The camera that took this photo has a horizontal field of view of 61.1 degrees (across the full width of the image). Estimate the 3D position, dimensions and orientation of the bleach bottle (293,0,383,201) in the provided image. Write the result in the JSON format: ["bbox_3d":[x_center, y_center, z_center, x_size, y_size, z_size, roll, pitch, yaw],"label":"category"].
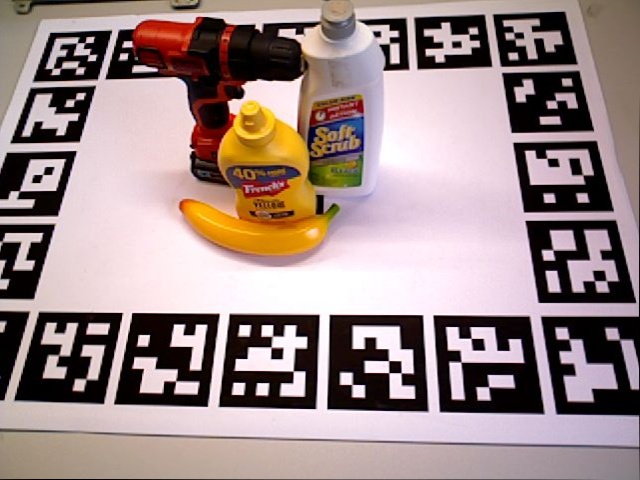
[{"bbox_3d":[0.011,-0.140,0.558,0.102,0.255,0.067,3,58,6],"label":"bleach bottle"}]

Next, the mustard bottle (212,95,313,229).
[{"bbox_3d":[-0.060,-0.078,0.562,0.096,0.194,0.058,1,63,4],"label":"mustard bottle"}]

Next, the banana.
[{"bbox_3d":[-0.076,-0.012,0.629,0.197,0.039,0.073,4,66,10],"label":"banana"}]

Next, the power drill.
[{"bbox_3d":[-0.098,-0.151,0.578,0.184,0.190,0.056,12,63,9],"label":"power drill"}]
